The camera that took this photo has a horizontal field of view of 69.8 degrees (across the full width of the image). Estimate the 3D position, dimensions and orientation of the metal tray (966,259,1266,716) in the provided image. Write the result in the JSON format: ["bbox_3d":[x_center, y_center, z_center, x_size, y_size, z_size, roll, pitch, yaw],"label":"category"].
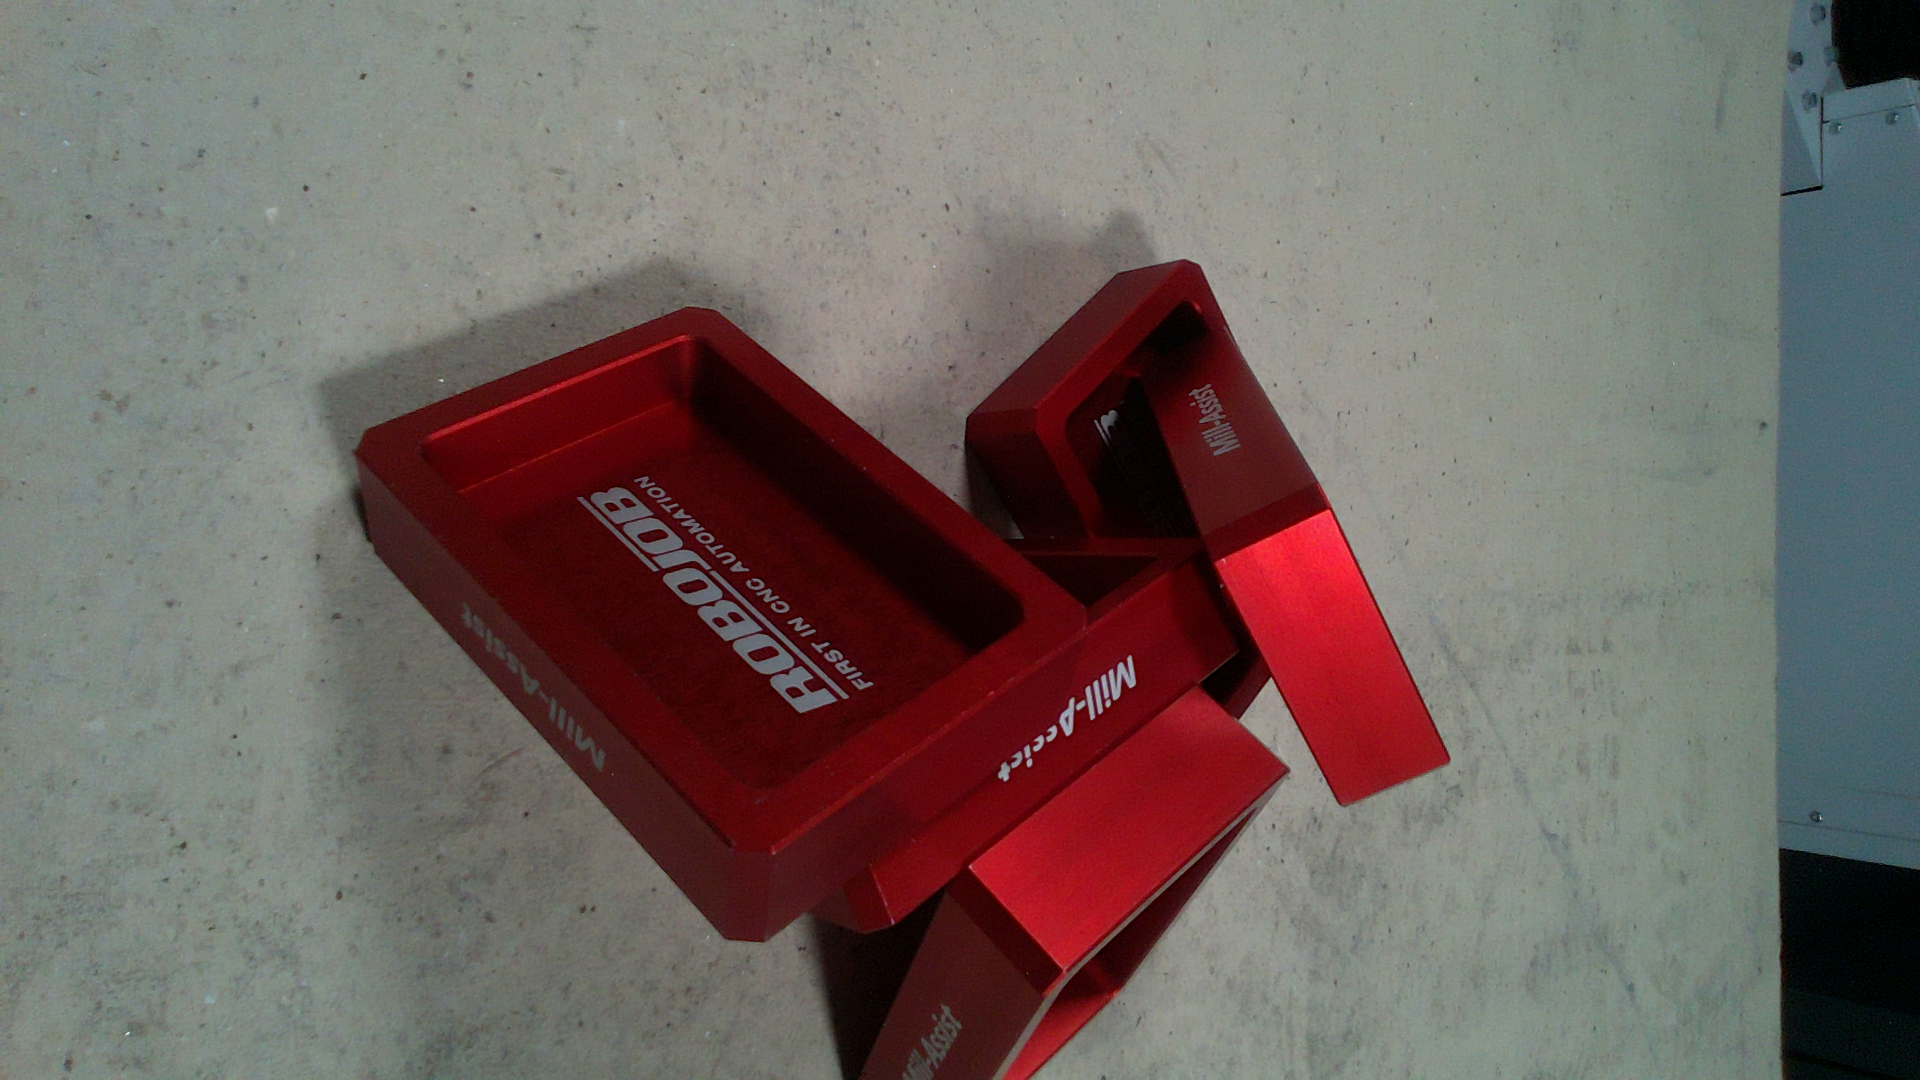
[{"bbox_3d":[0.067,-0.011,0.441,0.090,0.030,0.130,-46,117,-30],"label":"metal tray"}]

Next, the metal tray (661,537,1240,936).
[{"bbox_3d":[-0.004,0.040,0.343,0.130,0.090,0.030,-31,109,-35],"label":"metal tray"}]

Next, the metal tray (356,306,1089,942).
[{"bbox_3d":[-0.050,0.008,0.286,0.090,0.130,0.030,-31,148,-36],"label":"metal tray"}]

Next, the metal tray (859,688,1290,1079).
[{"bbox_3d":[0.025,0.103,0.353,0.090,0.030,0.130,-31,154,-35],"label":"metal tray"}]

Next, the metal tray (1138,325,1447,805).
[{"bbox_3d":[0.090,0.001,0.392,0.090,0.030,0.130,59,12,-24],"label":"metal tray"}]
